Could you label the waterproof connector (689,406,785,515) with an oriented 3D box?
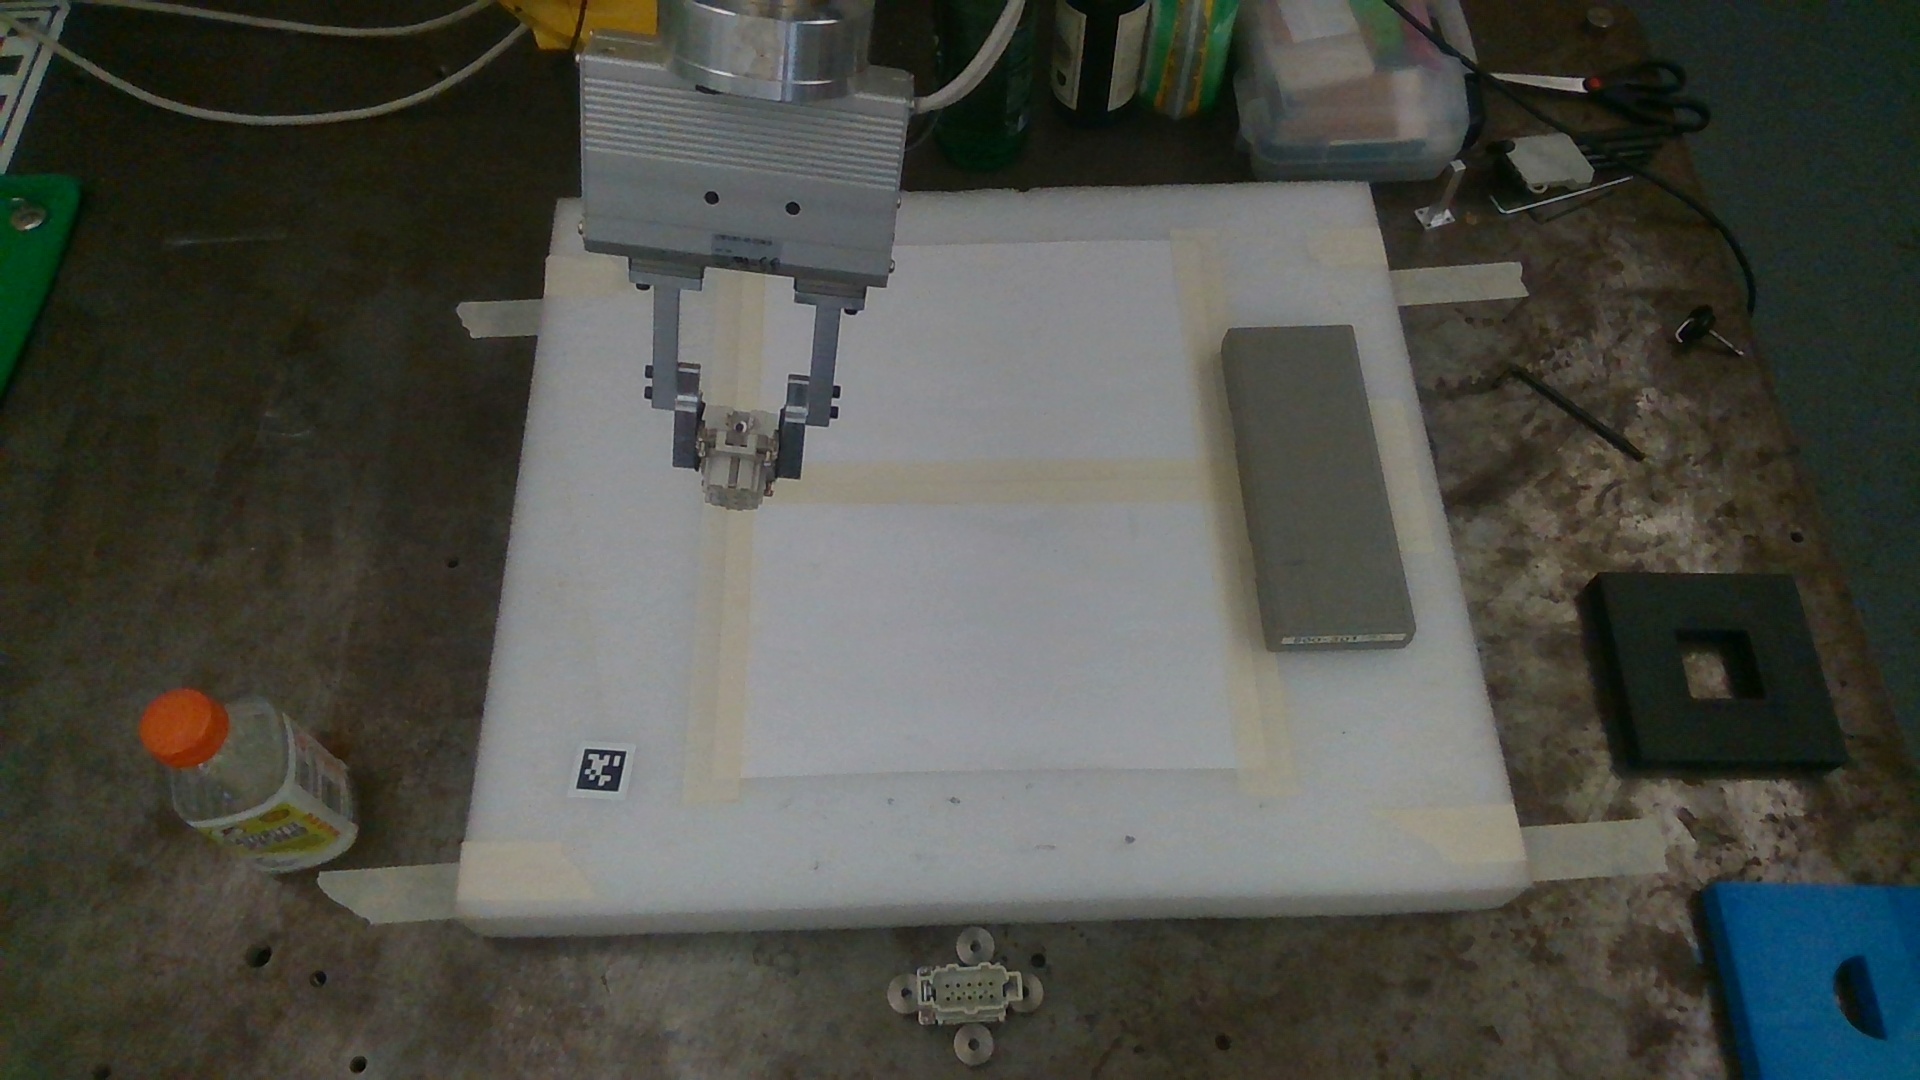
[{"bbox_3d":[-0.099,-0.034,0.616,0.037,0.069,0.038,6,80,-3],"label":"waterproof connector"}]
